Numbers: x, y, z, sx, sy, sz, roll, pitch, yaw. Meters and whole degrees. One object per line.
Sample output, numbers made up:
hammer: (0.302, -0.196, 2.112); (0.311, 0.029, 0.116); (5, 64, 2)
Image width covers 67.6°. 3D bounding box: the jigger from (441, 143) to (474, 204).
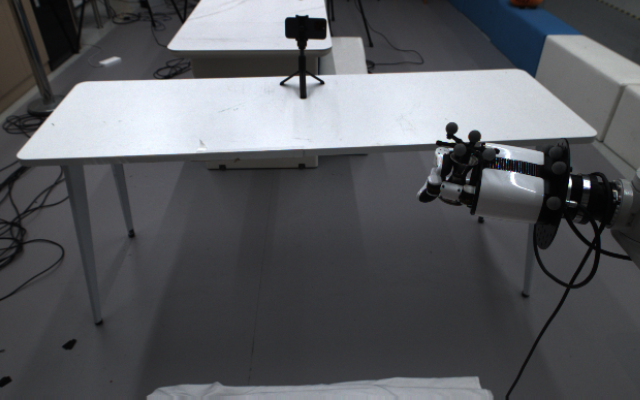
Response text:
jigger: (0.202, -0.032, 0.710); (0.043, 0.071, 0.043); (7, 32, -4)
